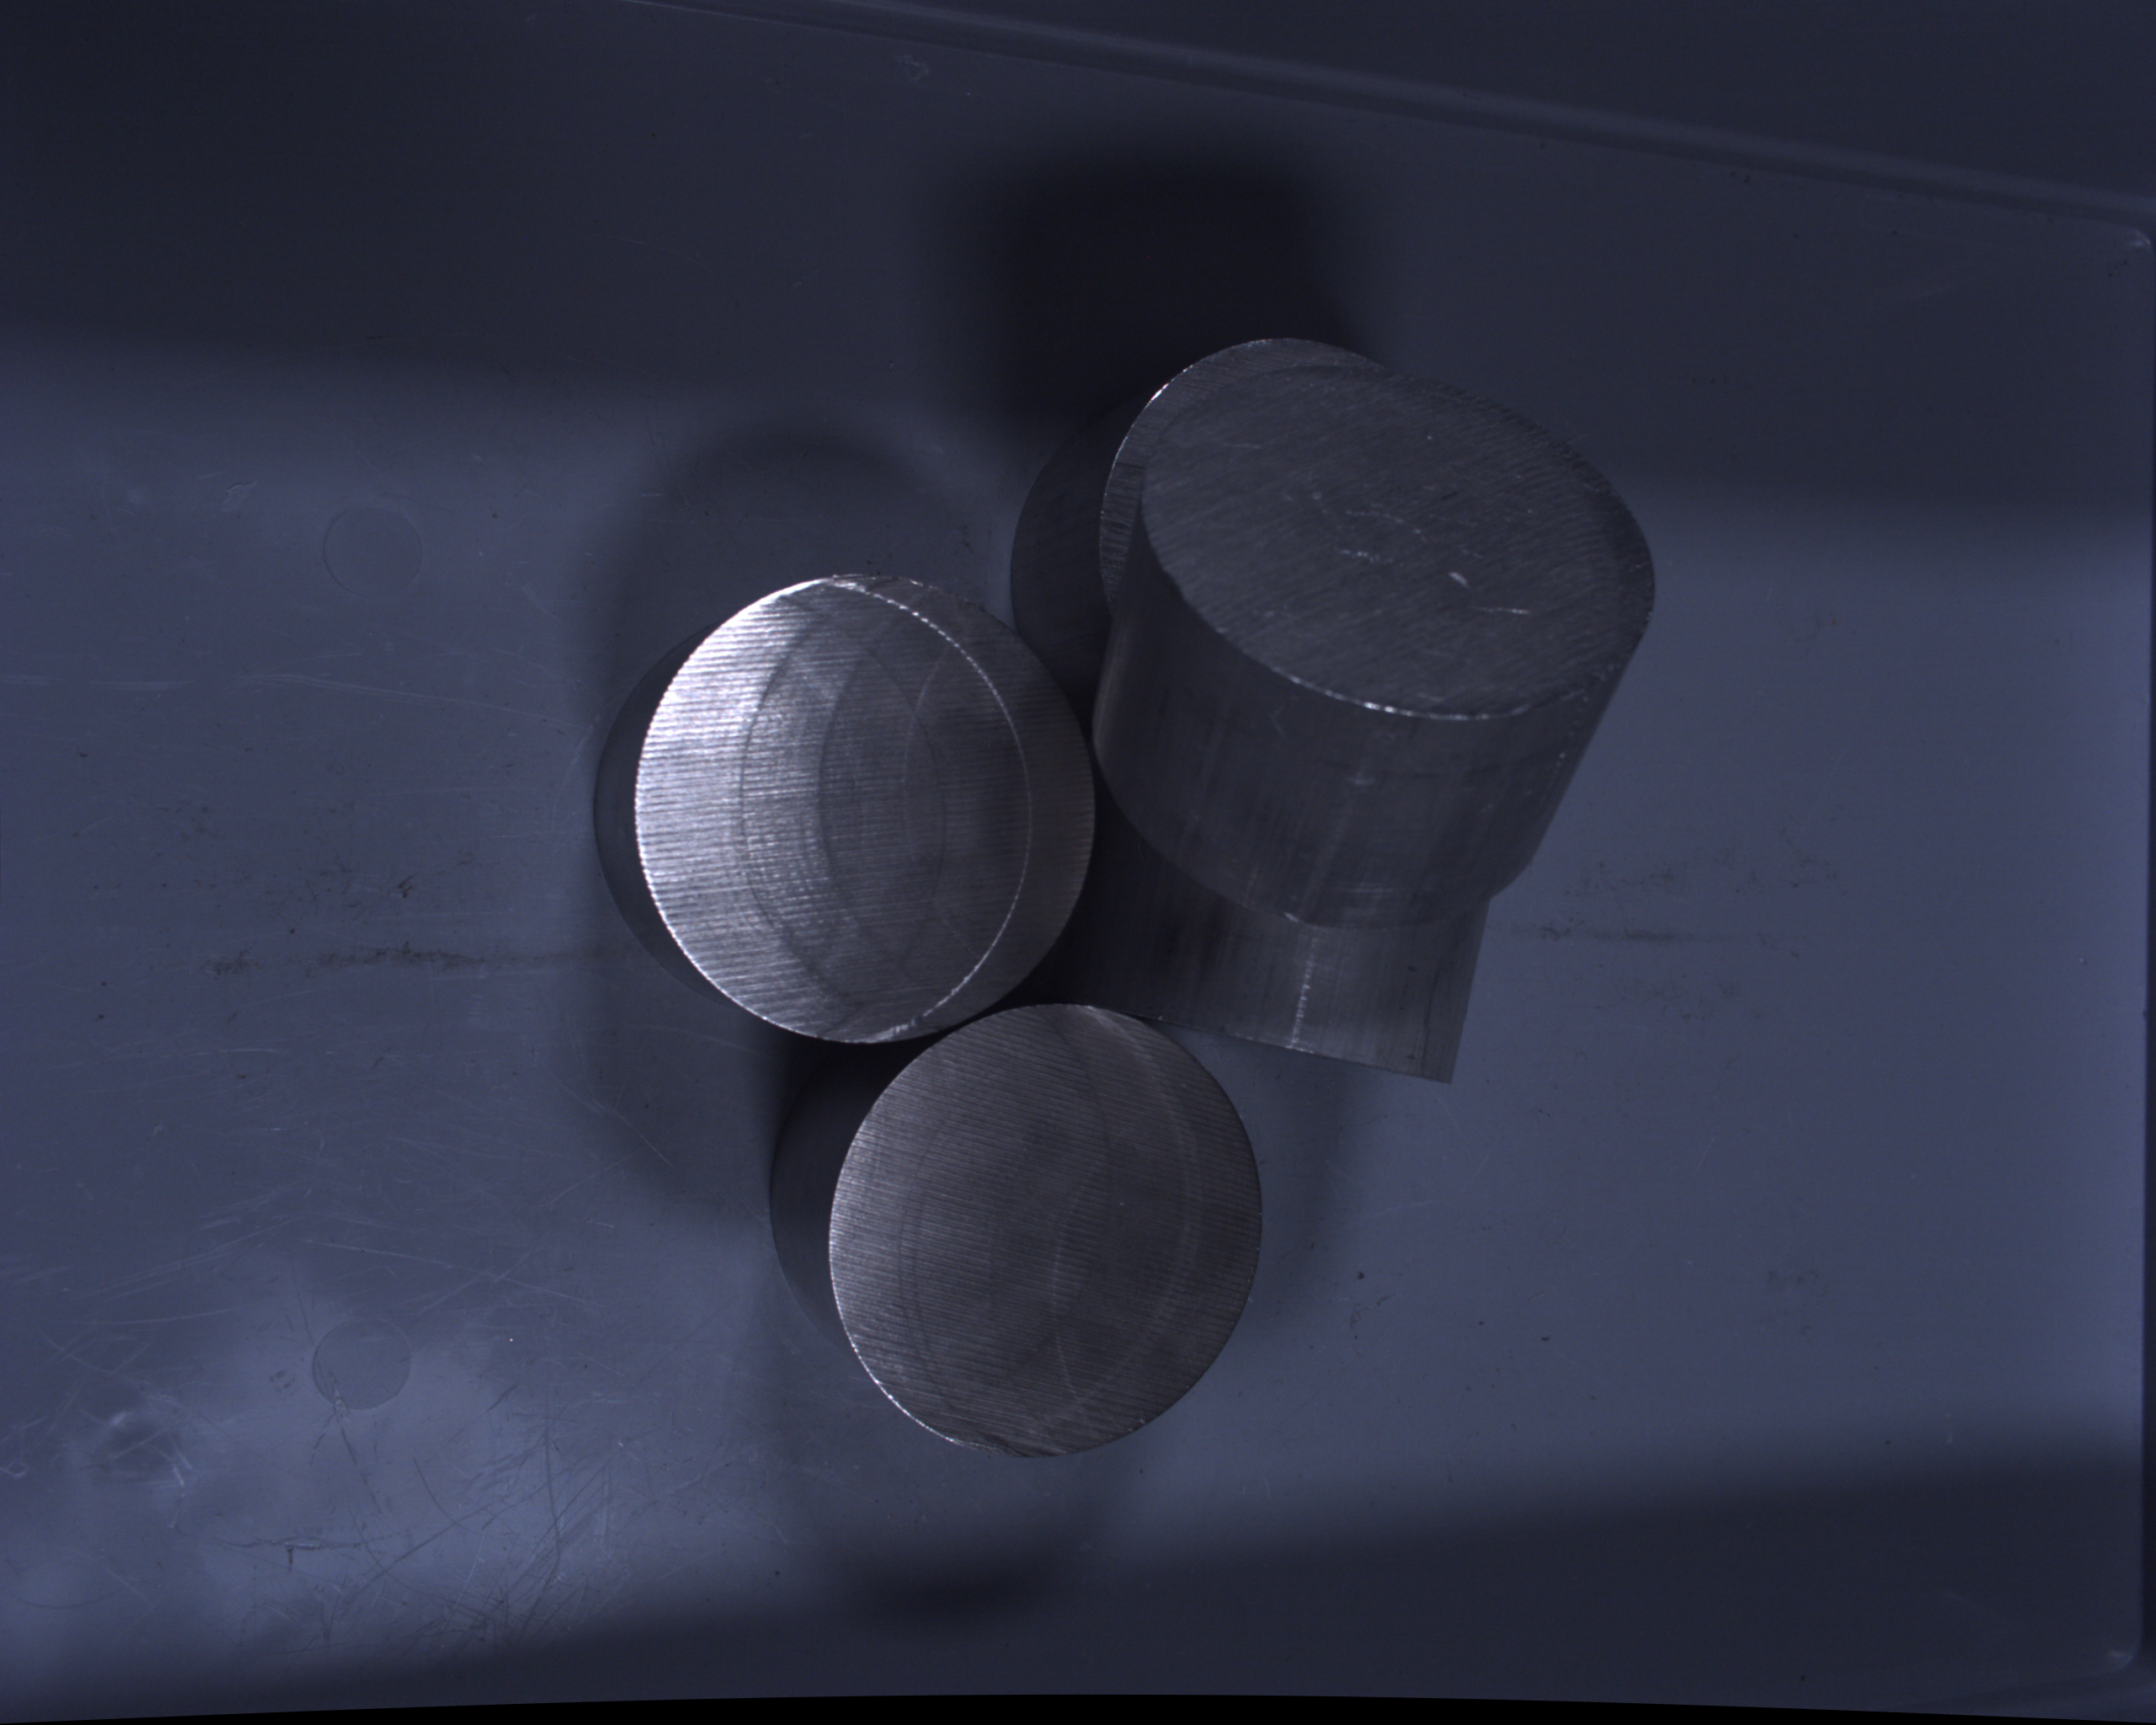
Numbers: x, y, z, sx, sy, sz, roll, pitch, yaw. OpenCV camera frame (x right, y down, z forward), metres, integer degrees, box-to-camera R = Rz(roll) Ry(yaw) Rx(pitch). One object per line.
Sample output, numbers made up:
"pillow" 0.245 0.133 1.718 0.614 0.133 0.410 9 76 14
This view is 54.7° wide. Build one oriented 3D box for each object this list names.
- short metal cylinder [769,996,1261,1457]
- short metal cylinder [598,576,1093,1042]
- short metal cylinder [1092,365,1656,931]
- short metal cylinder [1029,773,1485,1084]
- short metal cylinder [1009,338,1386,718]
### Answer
"short metal cylinder" -0.013 0.065 0.391 0.081 0.050 0.079 0 90 -21
"short metal cylinder" -0.044 -0.009 0.379 0.081 0.050 0.079 0 90 -21
"short metal cylinder" 0.046 -0.036 0.339 0.081 0.050 0.080 6 50 -7
"short metal cylinder" 0.035 0.009 0.394 0.081 0.080 0.050 14 85 -20
"short metal cylinder" 0.033 -0.057 0.409 0.081 0.050 0.079 0 90 -21
